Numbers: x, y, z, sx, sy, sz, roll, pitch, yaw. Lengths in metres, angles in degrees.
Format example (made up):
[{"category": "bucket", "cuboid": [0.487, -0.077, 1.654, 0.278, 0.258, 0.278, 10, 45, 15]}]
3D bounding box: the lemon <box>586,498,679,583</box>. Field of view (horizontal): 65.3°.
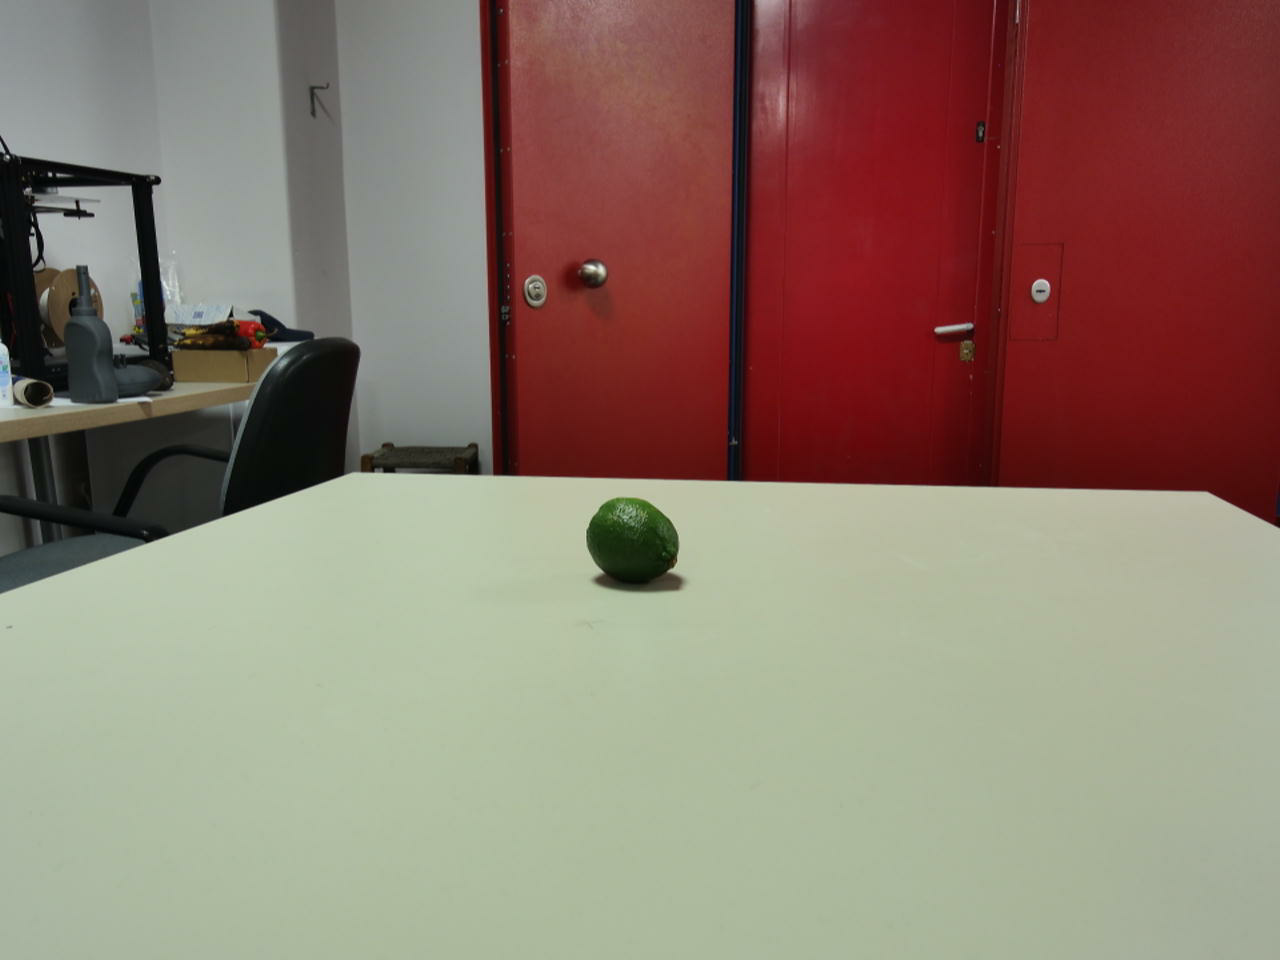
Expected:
[{"category": "lemon", "cuboid": [-0.004, 0.036, 0.615, 0.057, 0.051, 0.054, 0, 8, 7]}]
